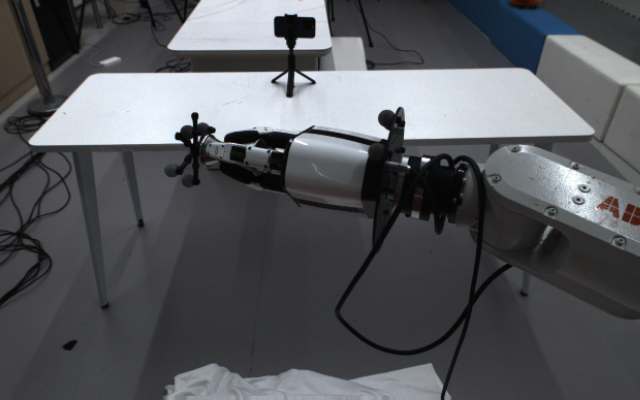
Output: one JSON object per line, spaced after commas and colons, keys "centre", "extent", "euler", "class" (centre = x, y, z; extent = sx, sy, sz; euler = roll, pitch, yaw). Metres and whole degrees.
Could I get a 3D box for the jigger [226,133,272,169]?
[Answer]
{"centre": [-0.096, -0.057, 0.569], "extent": [0.071, 0.043, 0.043], "euler": [8, 35, 16], "class": "jigger"}
